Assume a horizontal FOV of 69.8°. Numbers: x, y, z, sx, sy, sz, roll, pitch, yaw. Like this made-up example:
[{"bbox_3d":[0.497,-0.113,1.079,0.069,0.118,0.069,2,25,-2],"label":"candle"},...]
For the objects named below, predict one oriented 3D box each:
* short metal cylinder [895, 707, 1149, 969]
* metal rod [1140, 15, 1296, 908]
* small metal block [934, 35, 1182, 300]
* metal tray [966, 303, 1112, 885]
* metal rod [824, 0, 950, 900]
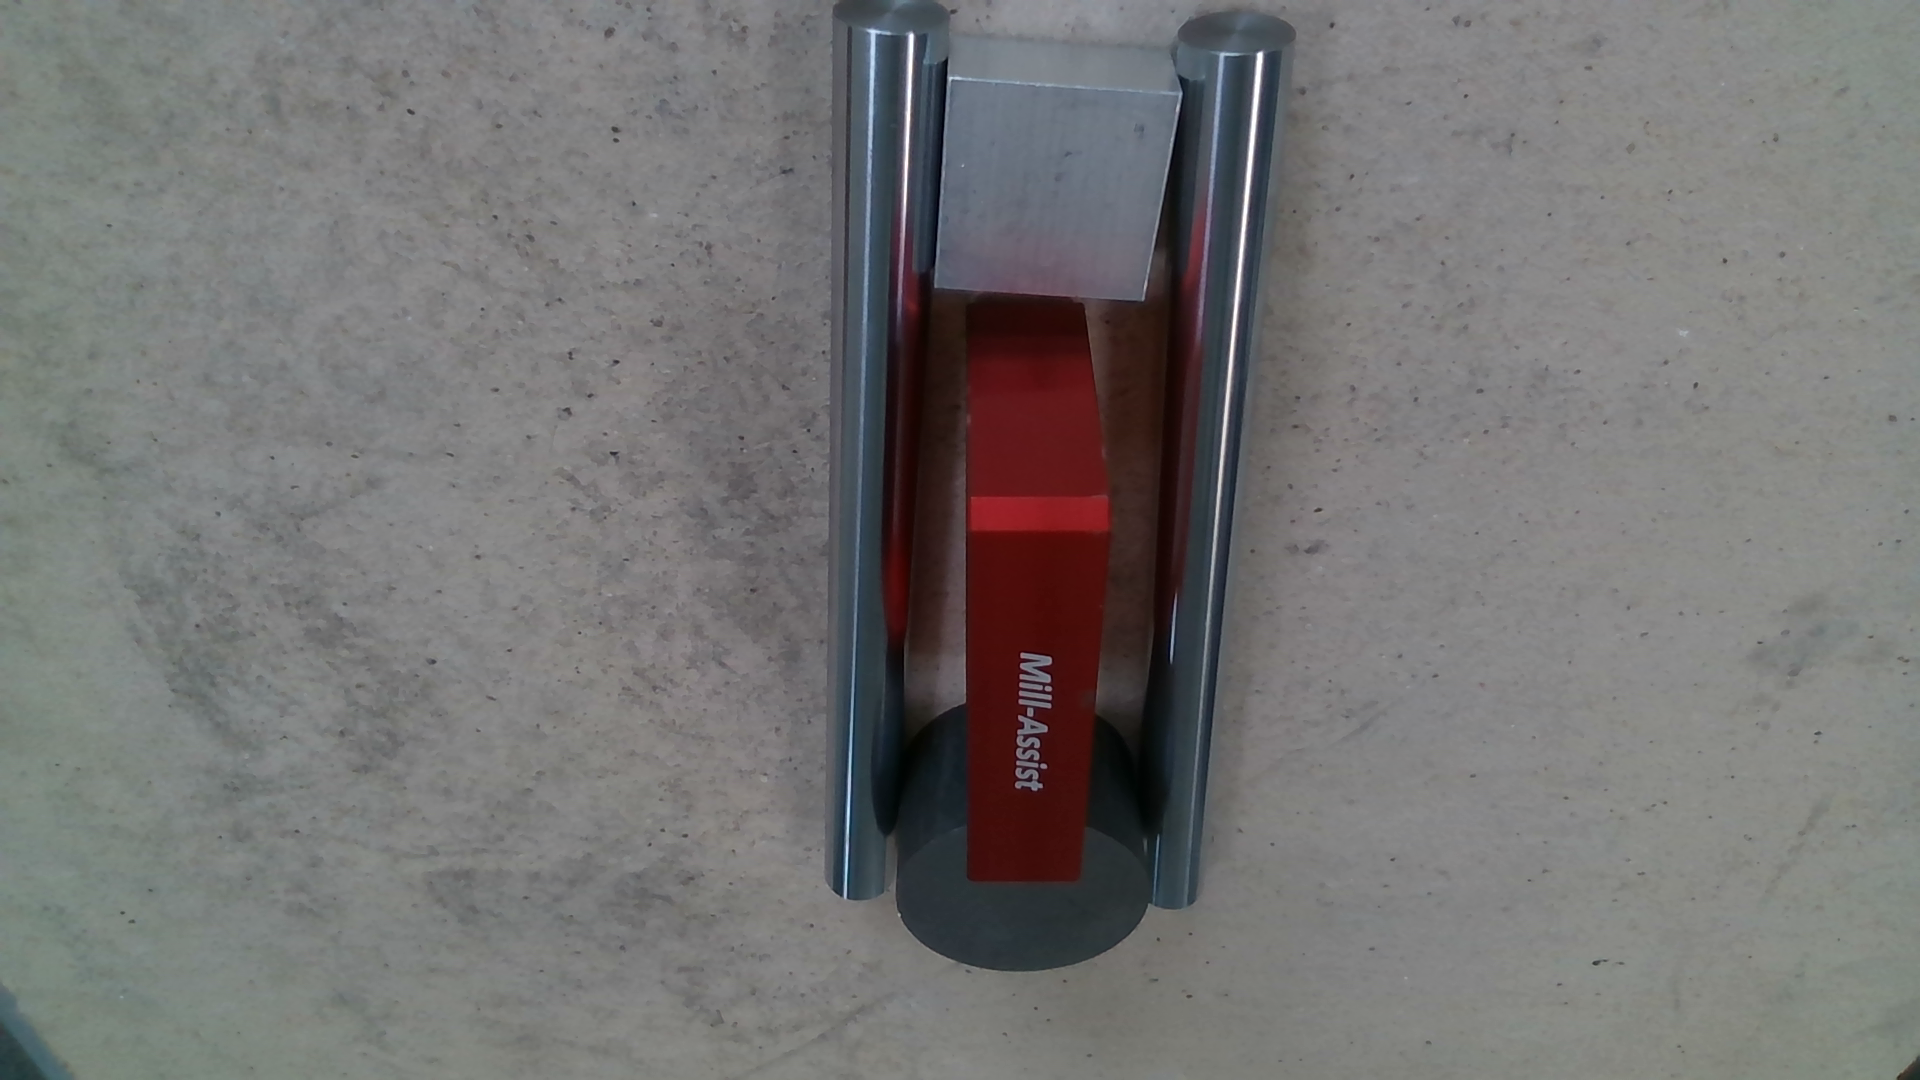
[{"bbox_3d":[0.019,0.097,0.454,0.080,0.050,0.080,0,130,0],"label":"short metal cylinder"},{"bbox_3d":[0.067,0.006,0.394,0.025,0.025,0.301,-2,130,2],"label":"metal rod"},{"bbox_3d":[0.021,-0.085,0.318,0.050,0.025,0.050,3,130,-3],"label":"small metal block"},{"bbox_3d":[0.017,0.016,0.358,0.030,0.090,0.130,0,130,0],"label":"metal tray"},{"bbox_3d":[-0.025,0.002,0.391,0.025,0.025,0.301,3,130,-3],"label":"metal rod"}]
